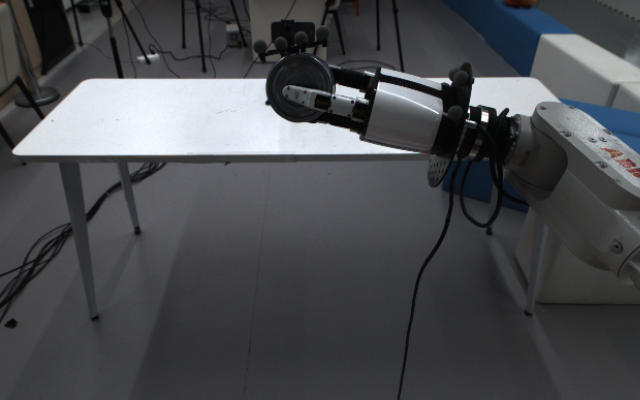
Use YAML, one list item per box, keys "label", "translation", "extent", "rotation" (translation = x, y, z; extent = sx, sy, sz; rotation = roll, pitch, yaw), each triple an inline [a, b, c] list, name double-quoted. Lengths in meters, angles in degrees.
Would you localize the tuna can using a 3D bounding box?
- label: "tuna can"
  translation: [-0.020, -0.136, 0.608]
  extent: [0.085, 0.085, 0.034]
  rotation: [6, 18, 5]
